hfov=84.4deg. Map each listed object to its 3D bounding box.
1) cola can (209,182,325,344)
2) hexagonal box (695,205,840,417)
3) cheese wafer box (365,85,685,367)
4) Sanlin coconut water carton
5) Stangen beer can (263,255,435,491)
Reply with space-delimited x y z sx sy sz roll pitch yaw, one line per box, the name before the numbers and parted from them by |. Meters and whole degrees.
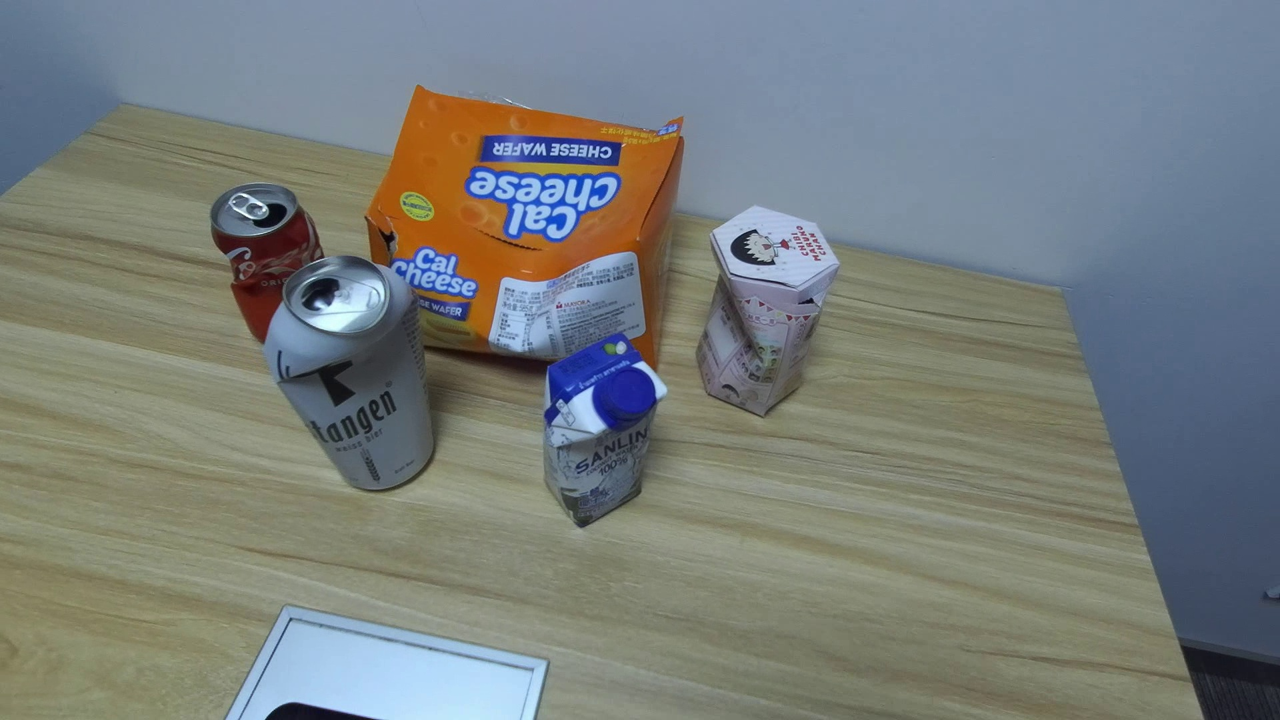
cola can | -0.260 -0.064 0.507 0.066 0.117 0.065 -24 56 -25
hexagonal box | 0.087 -0.031 0.521 0.090 0.134 0.091 24 51 16
cheese wafer box | -0.083 -0.092 0.545 0.219 0.145 0.191 7 49 -2
Sanlin coconut water carton | -0.025 0.045 0.438 0.078 0.142 0.057 -28 63 -28
Stangen beer can | -0.169 0.014 0.429 0.066 0.162 0.077 5 50 -3
